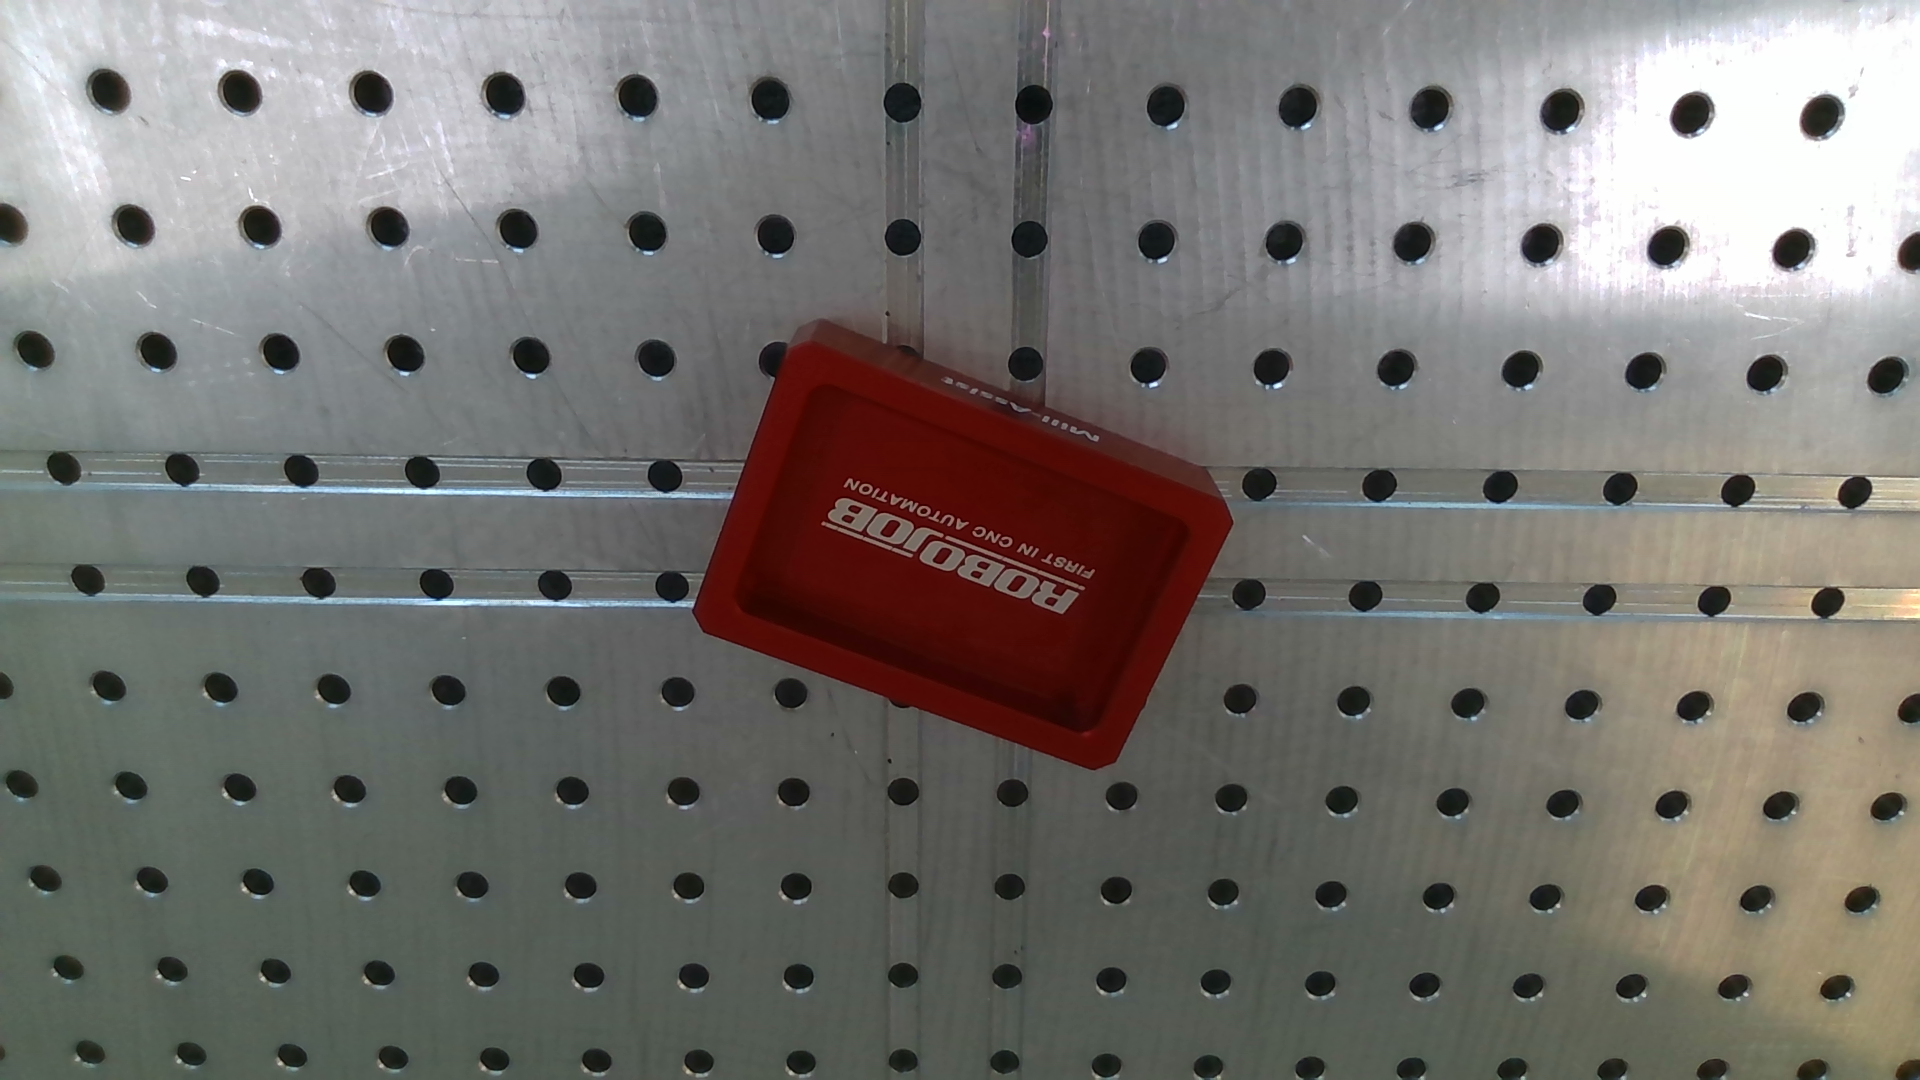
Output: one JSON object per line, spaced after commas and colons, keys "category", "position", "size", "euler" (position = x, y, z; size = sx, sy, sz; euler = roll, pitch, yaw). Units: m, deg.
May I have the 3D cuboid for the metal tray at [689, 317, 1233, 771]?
{"category": "metal tray", "position": [-0.001, 0.003, 0.394], "size": [0.130, 0.030, 0.090], "euler": [20, 109, -7]}
